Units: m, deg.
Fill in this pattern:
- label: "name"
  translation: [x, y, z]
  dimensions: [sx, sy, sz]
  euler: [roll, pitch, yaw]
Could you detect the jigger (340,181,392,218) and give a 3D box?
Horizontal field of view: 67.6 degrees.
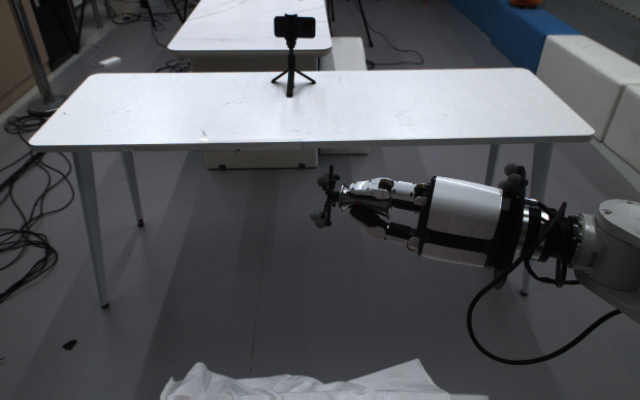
- label: "jigger"
  translation: [0.070, -0.004, 0.663]
  dimensions: [0.071, 0.043, 0.043]
  euler: [7, 35, 12]
